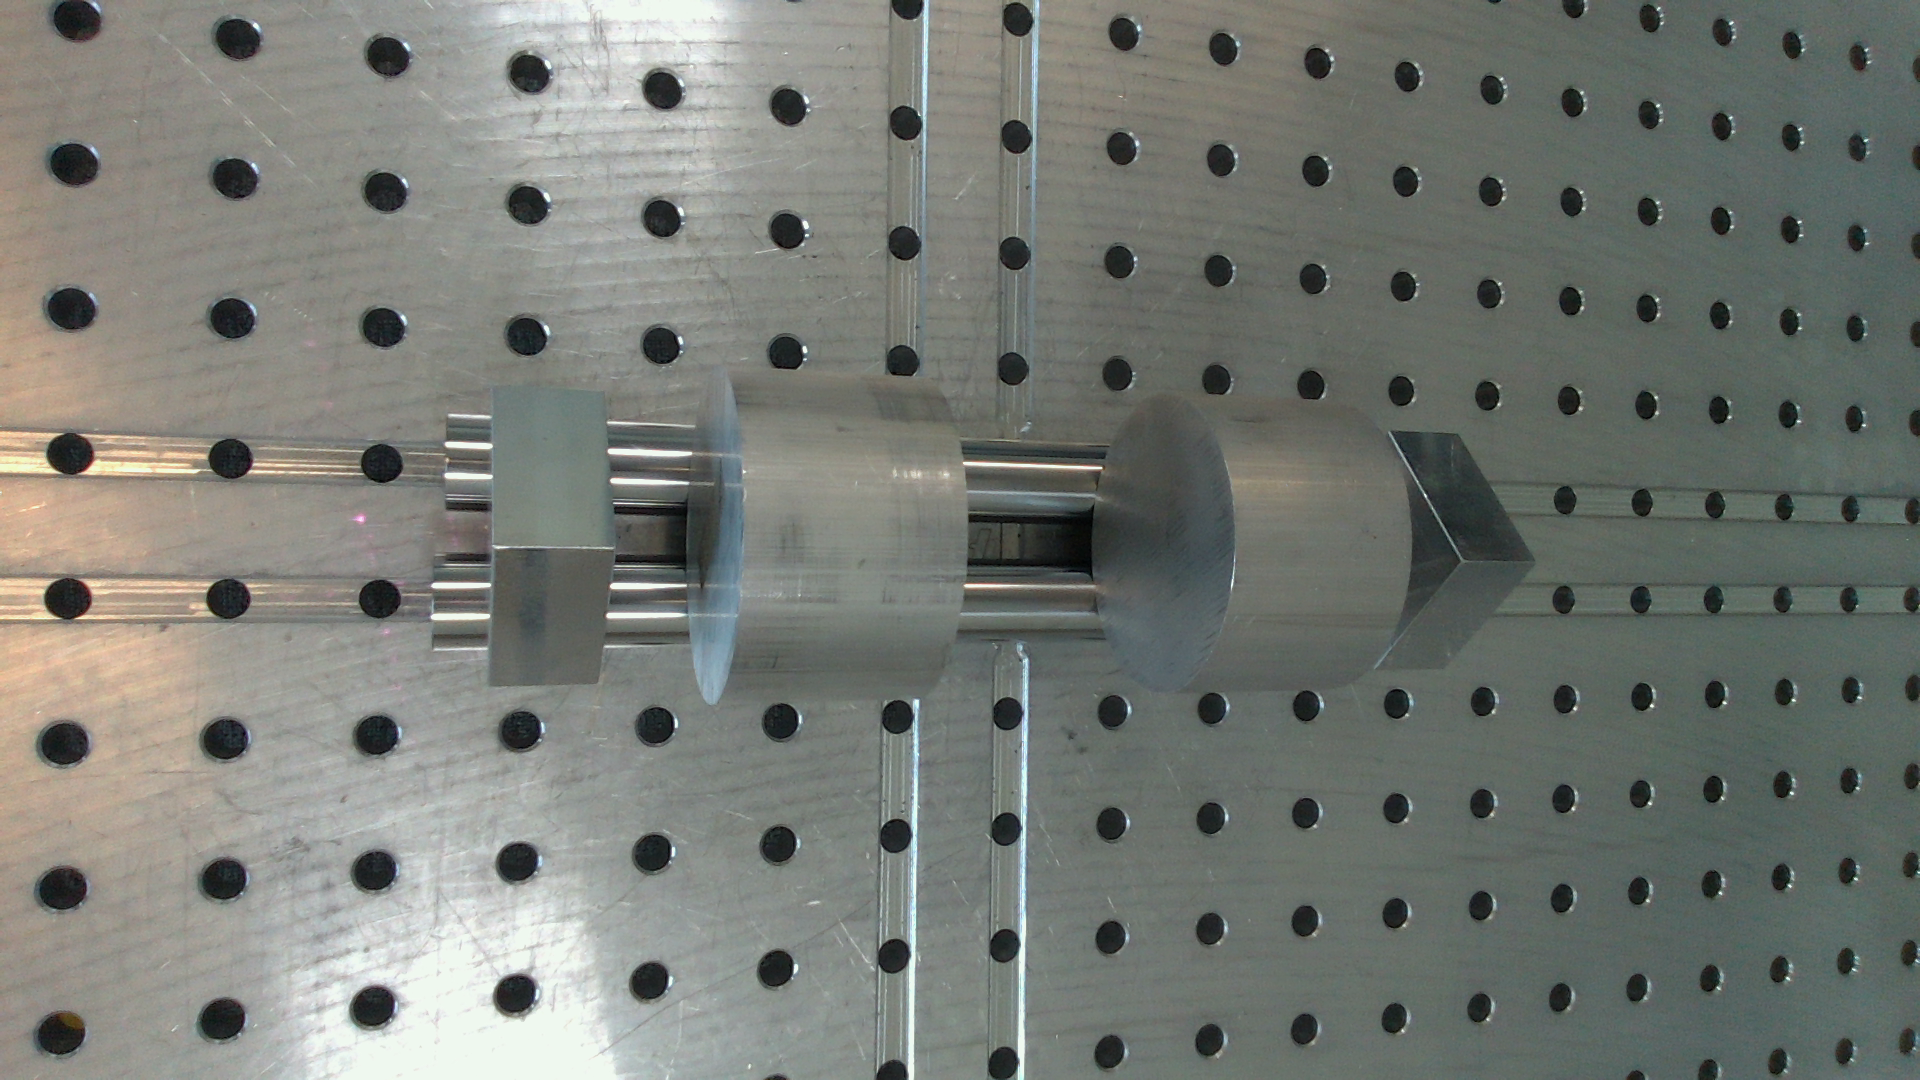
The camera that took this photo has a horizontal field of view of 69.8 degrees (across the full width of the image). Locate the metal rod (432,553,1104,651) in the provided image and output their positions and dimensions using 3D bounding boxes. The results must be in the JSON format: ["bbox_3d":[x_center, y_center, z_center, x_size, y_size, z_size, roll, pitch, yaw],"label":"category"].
[{"bbox_3d":[0.008,0.018,0.399,0.301,0.025,0.025,1,90,-20],"label":"metal rod"}]

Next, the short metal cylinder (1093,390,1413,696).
[{"bbox_3d":[0.076,0.001,0.371,0.050,0.080,0.080,1,90,-20],"label":"short metal cylinder"}]

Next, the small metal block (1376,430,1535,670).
[{"bbox_3d":[0.135,0.003,0.408,0.025,0.050,0.050,1,49,-19],"label":"small metal block"}]

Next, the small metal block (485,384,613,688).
[{"bbox_3d":[-0.098,-0.001,0.323,0.025,0.050,0.050,1,48,-19],"label":"small metal block"}]

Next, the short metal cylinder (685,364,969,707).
[{"bbox_3d":[-0.035,-0.001,0.331,0.050,0.080,0.080,1,90,-20],"label":"short metal cylinder"}]

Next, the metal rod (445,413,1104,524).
[{"bbox_3d":[0.011,-0.017,0.400,0.301,0.025,0.025,1,90,-20],"label":"metal rod"}]
